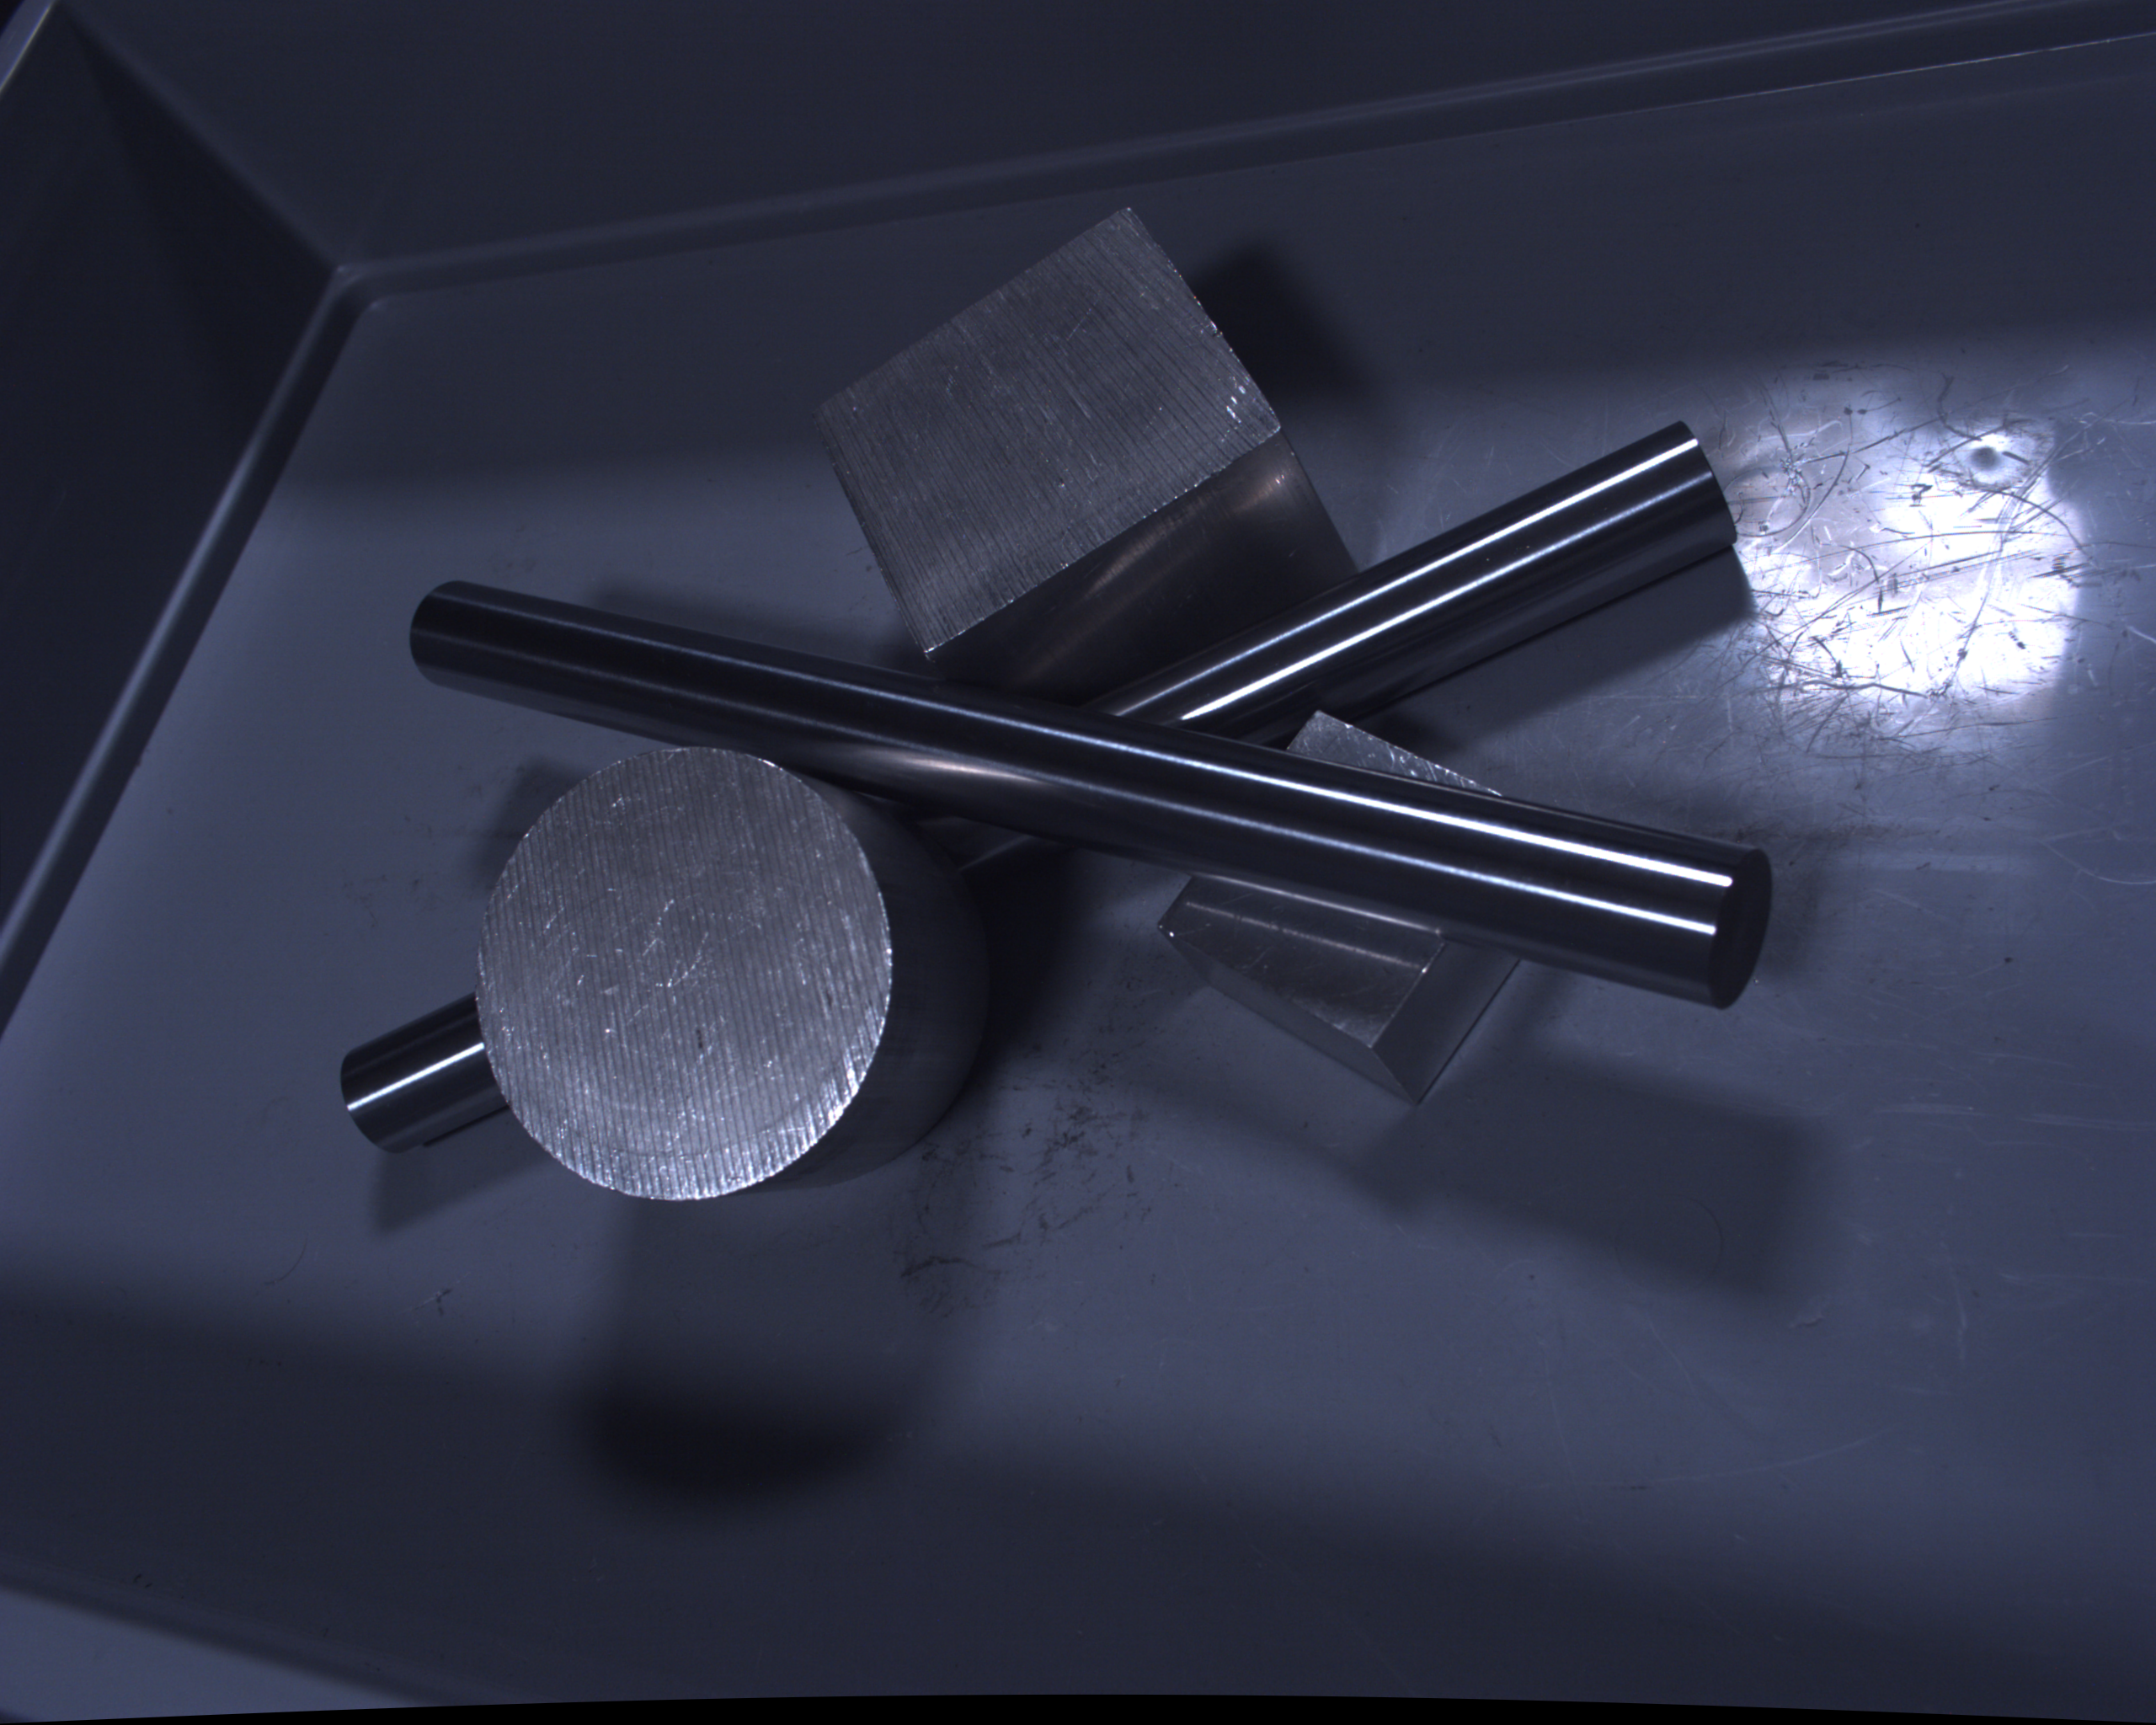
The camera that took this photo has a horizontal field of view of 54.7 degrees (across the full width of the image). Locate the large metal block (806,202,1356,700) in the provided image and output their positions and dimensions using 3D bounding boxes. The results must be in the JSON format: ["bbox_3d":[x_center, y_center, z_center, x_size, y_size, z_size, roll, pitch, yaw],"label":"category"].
[{"bbox_3d":[0.000,-0.076,0.432,0.080,0.050,0.080,-31,52,8],"label":"large metal block"}]

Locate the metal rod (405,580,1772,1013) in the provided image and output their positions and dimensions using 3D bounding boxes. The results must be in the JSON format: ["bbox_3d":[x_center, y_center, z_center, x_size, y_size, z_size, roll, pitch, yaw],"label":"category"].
[{"bbox_3d":[-0.022,-0.021,0.395,0.300,0.025,0.025,15,69,33],"label":"metal rod"}]

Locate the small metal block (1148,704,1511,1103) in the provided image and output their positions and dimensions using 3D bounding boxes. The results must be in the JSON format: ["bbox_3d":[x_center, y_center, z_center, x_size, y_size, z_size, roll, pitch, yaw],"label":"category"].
[{"bbox_3d":[0.050,0.006,0.370,0.050,0.025,0.050,30,78,37],"label":"small metal block"}]

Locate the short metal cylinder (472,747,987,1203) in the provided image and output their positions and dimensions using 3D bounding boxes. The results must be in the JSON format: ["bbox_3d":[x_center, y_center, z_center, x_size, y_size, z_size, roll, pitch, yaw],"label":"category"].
[{"bbox_3d":[-0.063,0.022,0.388,0.080,0.050,0.080,-2,83,16],"label":"short metal cylinder"}]

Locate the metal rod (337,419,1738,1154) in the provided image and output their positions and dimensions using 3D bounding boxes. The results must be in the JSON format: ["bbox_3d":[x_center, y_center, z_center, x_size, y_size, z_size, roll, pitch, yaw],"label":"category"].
[{"bbox_3d":[-0.017,-0.010,0.417,0.301,0.025,0.025,-24,53,12],"label":"metal rod"}]
